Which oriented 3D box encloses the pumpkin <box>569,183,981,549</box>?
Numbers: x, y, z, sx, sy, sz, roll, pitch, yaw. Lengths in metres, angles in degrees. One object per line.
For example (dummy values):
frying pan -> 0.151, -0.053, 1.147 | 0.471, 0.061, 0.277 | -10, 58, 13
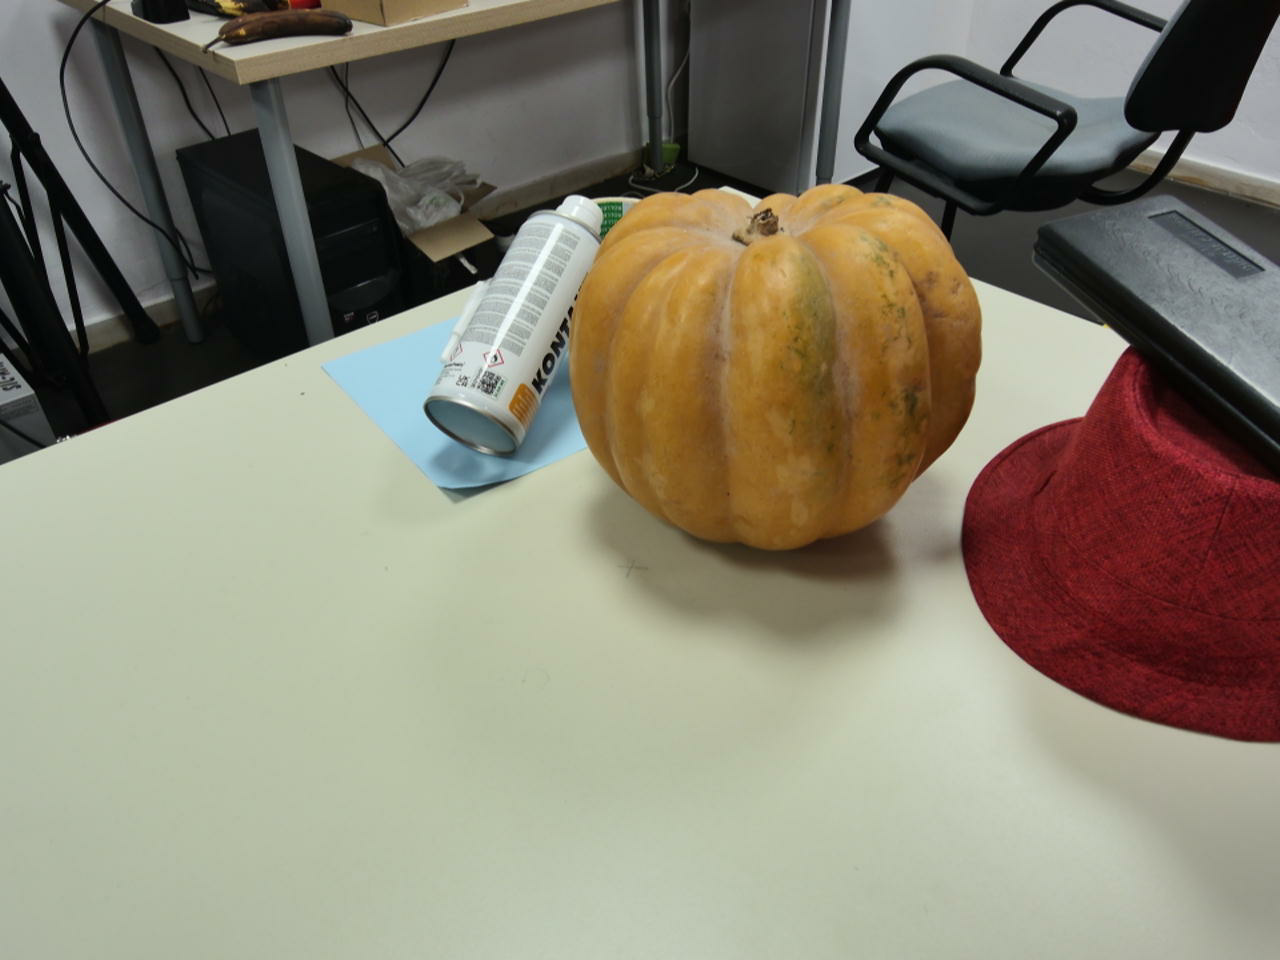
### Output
pumpkin -> 0.072, -0.066, 0.564 | 0.230, 0.194, 0.230 | 0, 37, 0
